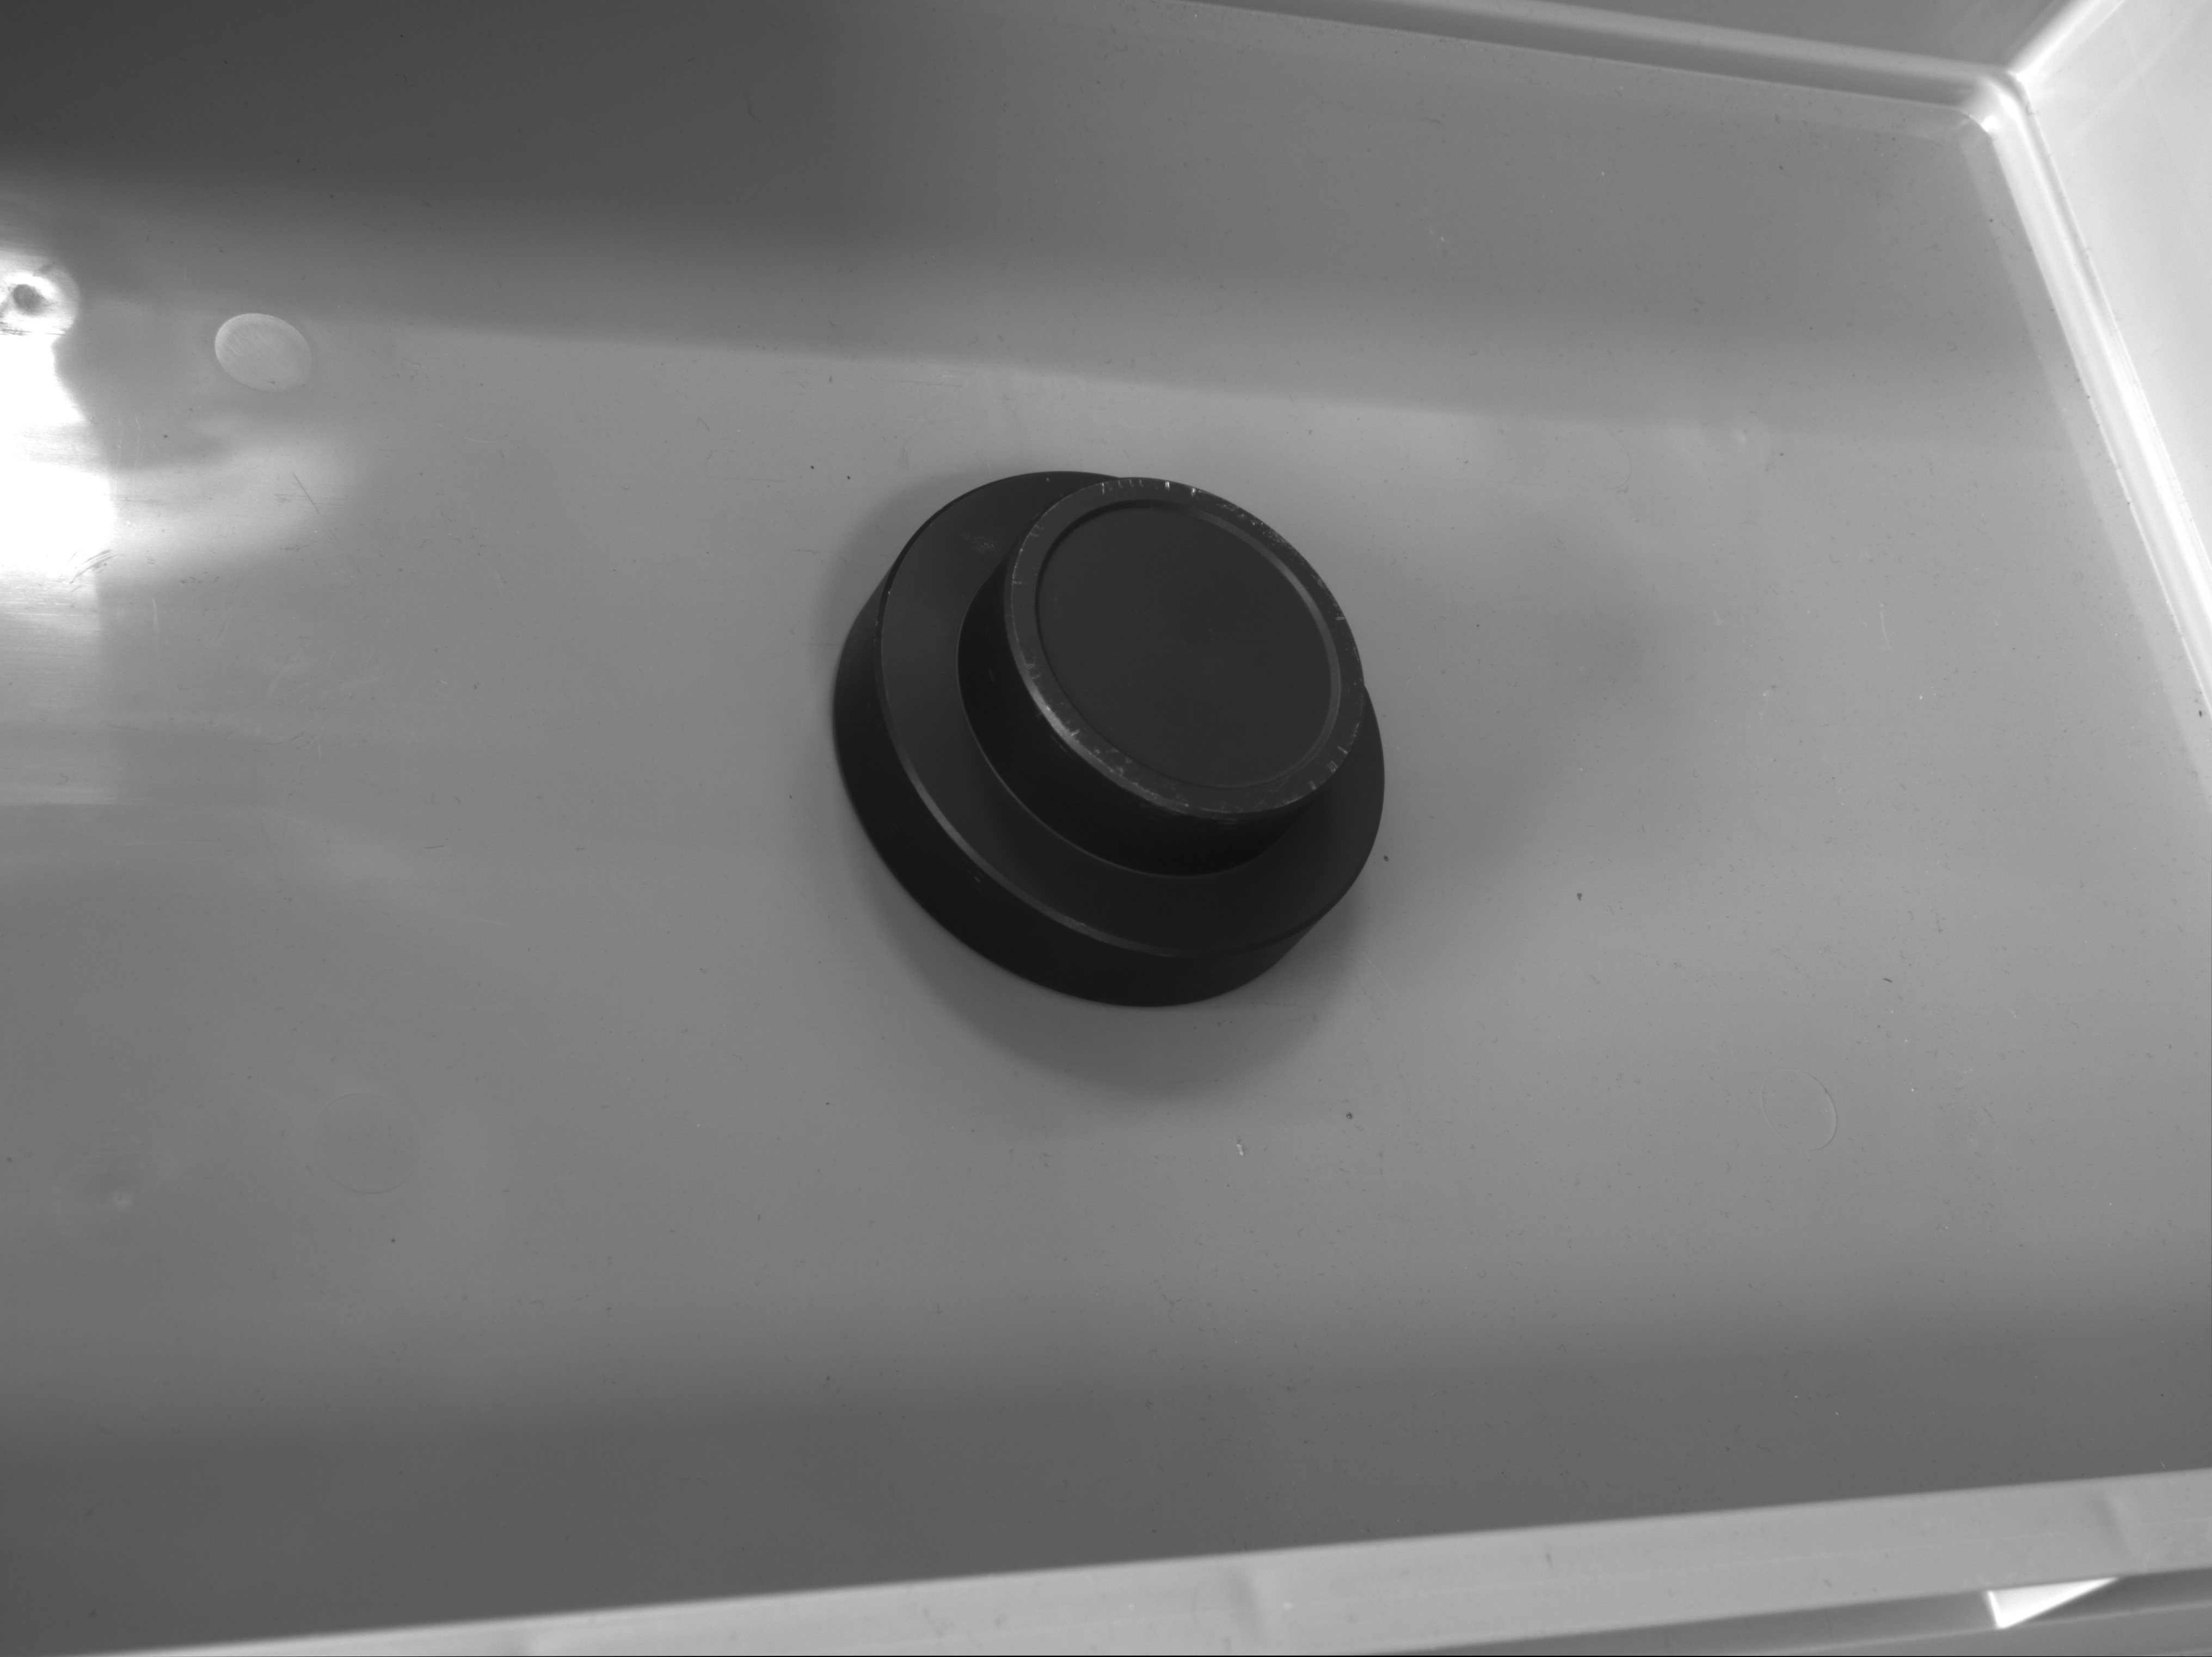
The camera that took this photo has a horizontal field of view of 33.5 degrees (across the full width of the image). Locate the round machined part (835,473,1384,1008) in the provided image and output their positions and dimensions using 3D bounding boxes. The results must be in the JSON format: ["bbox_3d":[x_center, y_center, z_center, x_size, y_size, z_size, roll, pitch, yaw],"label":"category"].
[{"bbox_3d":[0.006,-0.021,0.641,0.098,0.042,0.098,13,56,-21],"label":"round machined part"}]
